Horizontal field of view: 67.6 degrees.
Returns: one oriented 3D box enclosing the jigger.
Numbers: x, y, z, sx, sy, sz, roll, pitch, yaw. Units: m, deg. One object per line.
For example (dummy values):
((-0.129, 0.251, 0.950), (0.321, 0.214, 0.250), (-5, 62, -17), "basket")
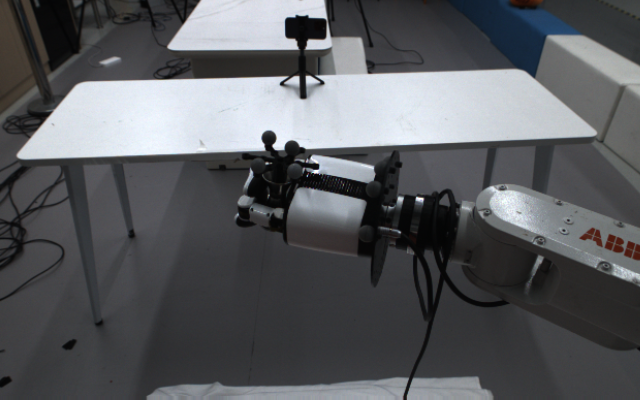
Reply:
((-0.052, -0.002, 0.584), (0.043, 0.071, 0.043), (6, 32, -4), "jigger")
